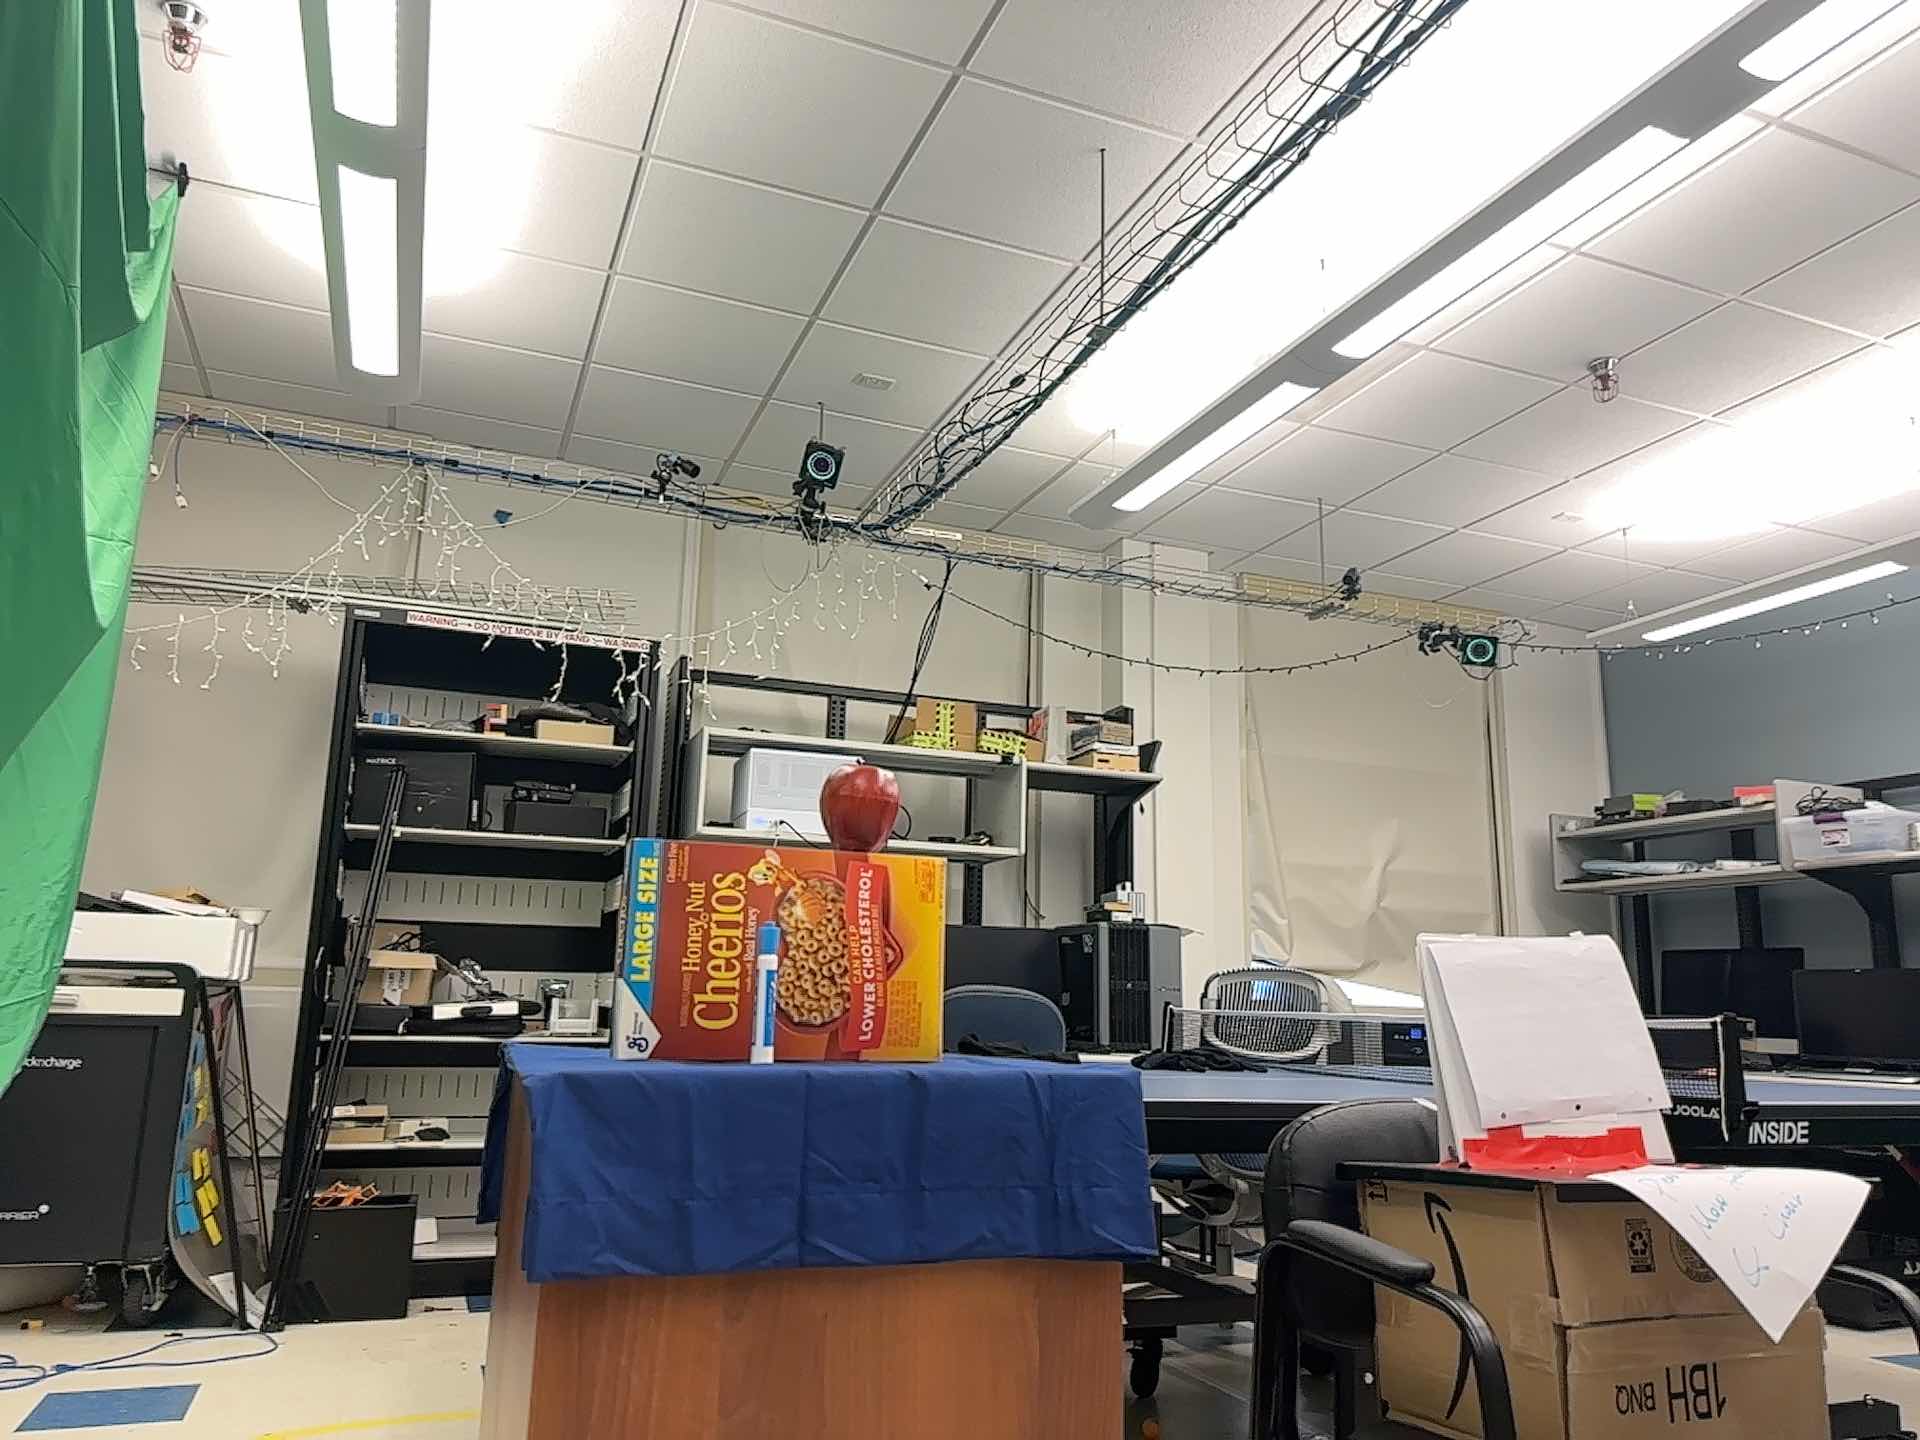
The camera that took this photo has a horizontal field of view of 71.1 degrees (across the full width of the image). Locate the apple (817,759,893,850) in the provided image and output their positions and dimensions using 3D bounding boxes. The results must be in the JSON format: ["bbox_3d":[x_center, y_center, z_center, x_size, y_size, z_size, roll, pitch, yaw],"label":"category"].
[{"bbox_3d":[-0.104,0.084,1.329,0.079,0.093,0.079,3,-13,1],"label":"apple"}]

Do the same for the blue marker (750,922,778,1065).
[{"bbox_3d":[-0.170,0.237,1.166,0.020,0.121,0.020,0,-14,0],"label":"blue marker"}]

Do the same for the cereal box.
[{"bbox_3d":[-0.167,0.220,1.271,0.297,0.195,0.065,7,-16,-22],"label":"cereal box"}]
